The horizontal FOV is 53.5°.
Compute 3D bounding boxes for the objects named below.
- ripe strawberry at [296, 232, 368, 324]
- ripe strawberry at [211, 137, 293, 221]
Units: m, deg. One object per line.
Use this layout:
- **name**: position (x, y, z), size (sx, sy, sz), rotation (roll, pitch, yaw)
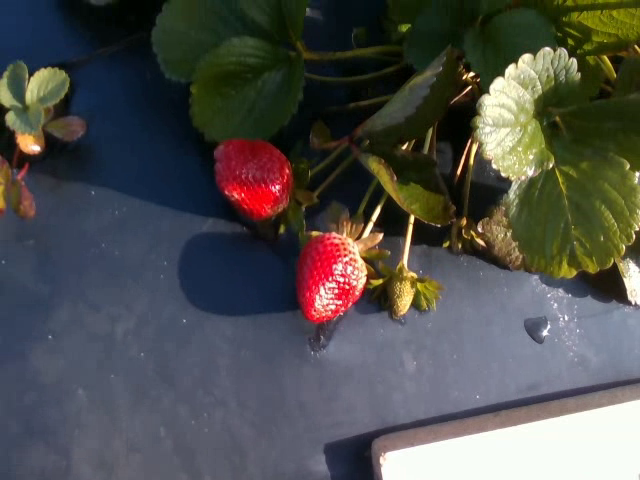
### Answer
- **ripe strawberry**: position (0.003, 0.019, 0.314), size (0.043, 0.053, 0.038), rotation (37, -44, -9)
- **ripe strawberry**: position (-0.036, -0.033, 0.341), size (0.054, 0.048, 0.039), rotation (10, 0, -34)
